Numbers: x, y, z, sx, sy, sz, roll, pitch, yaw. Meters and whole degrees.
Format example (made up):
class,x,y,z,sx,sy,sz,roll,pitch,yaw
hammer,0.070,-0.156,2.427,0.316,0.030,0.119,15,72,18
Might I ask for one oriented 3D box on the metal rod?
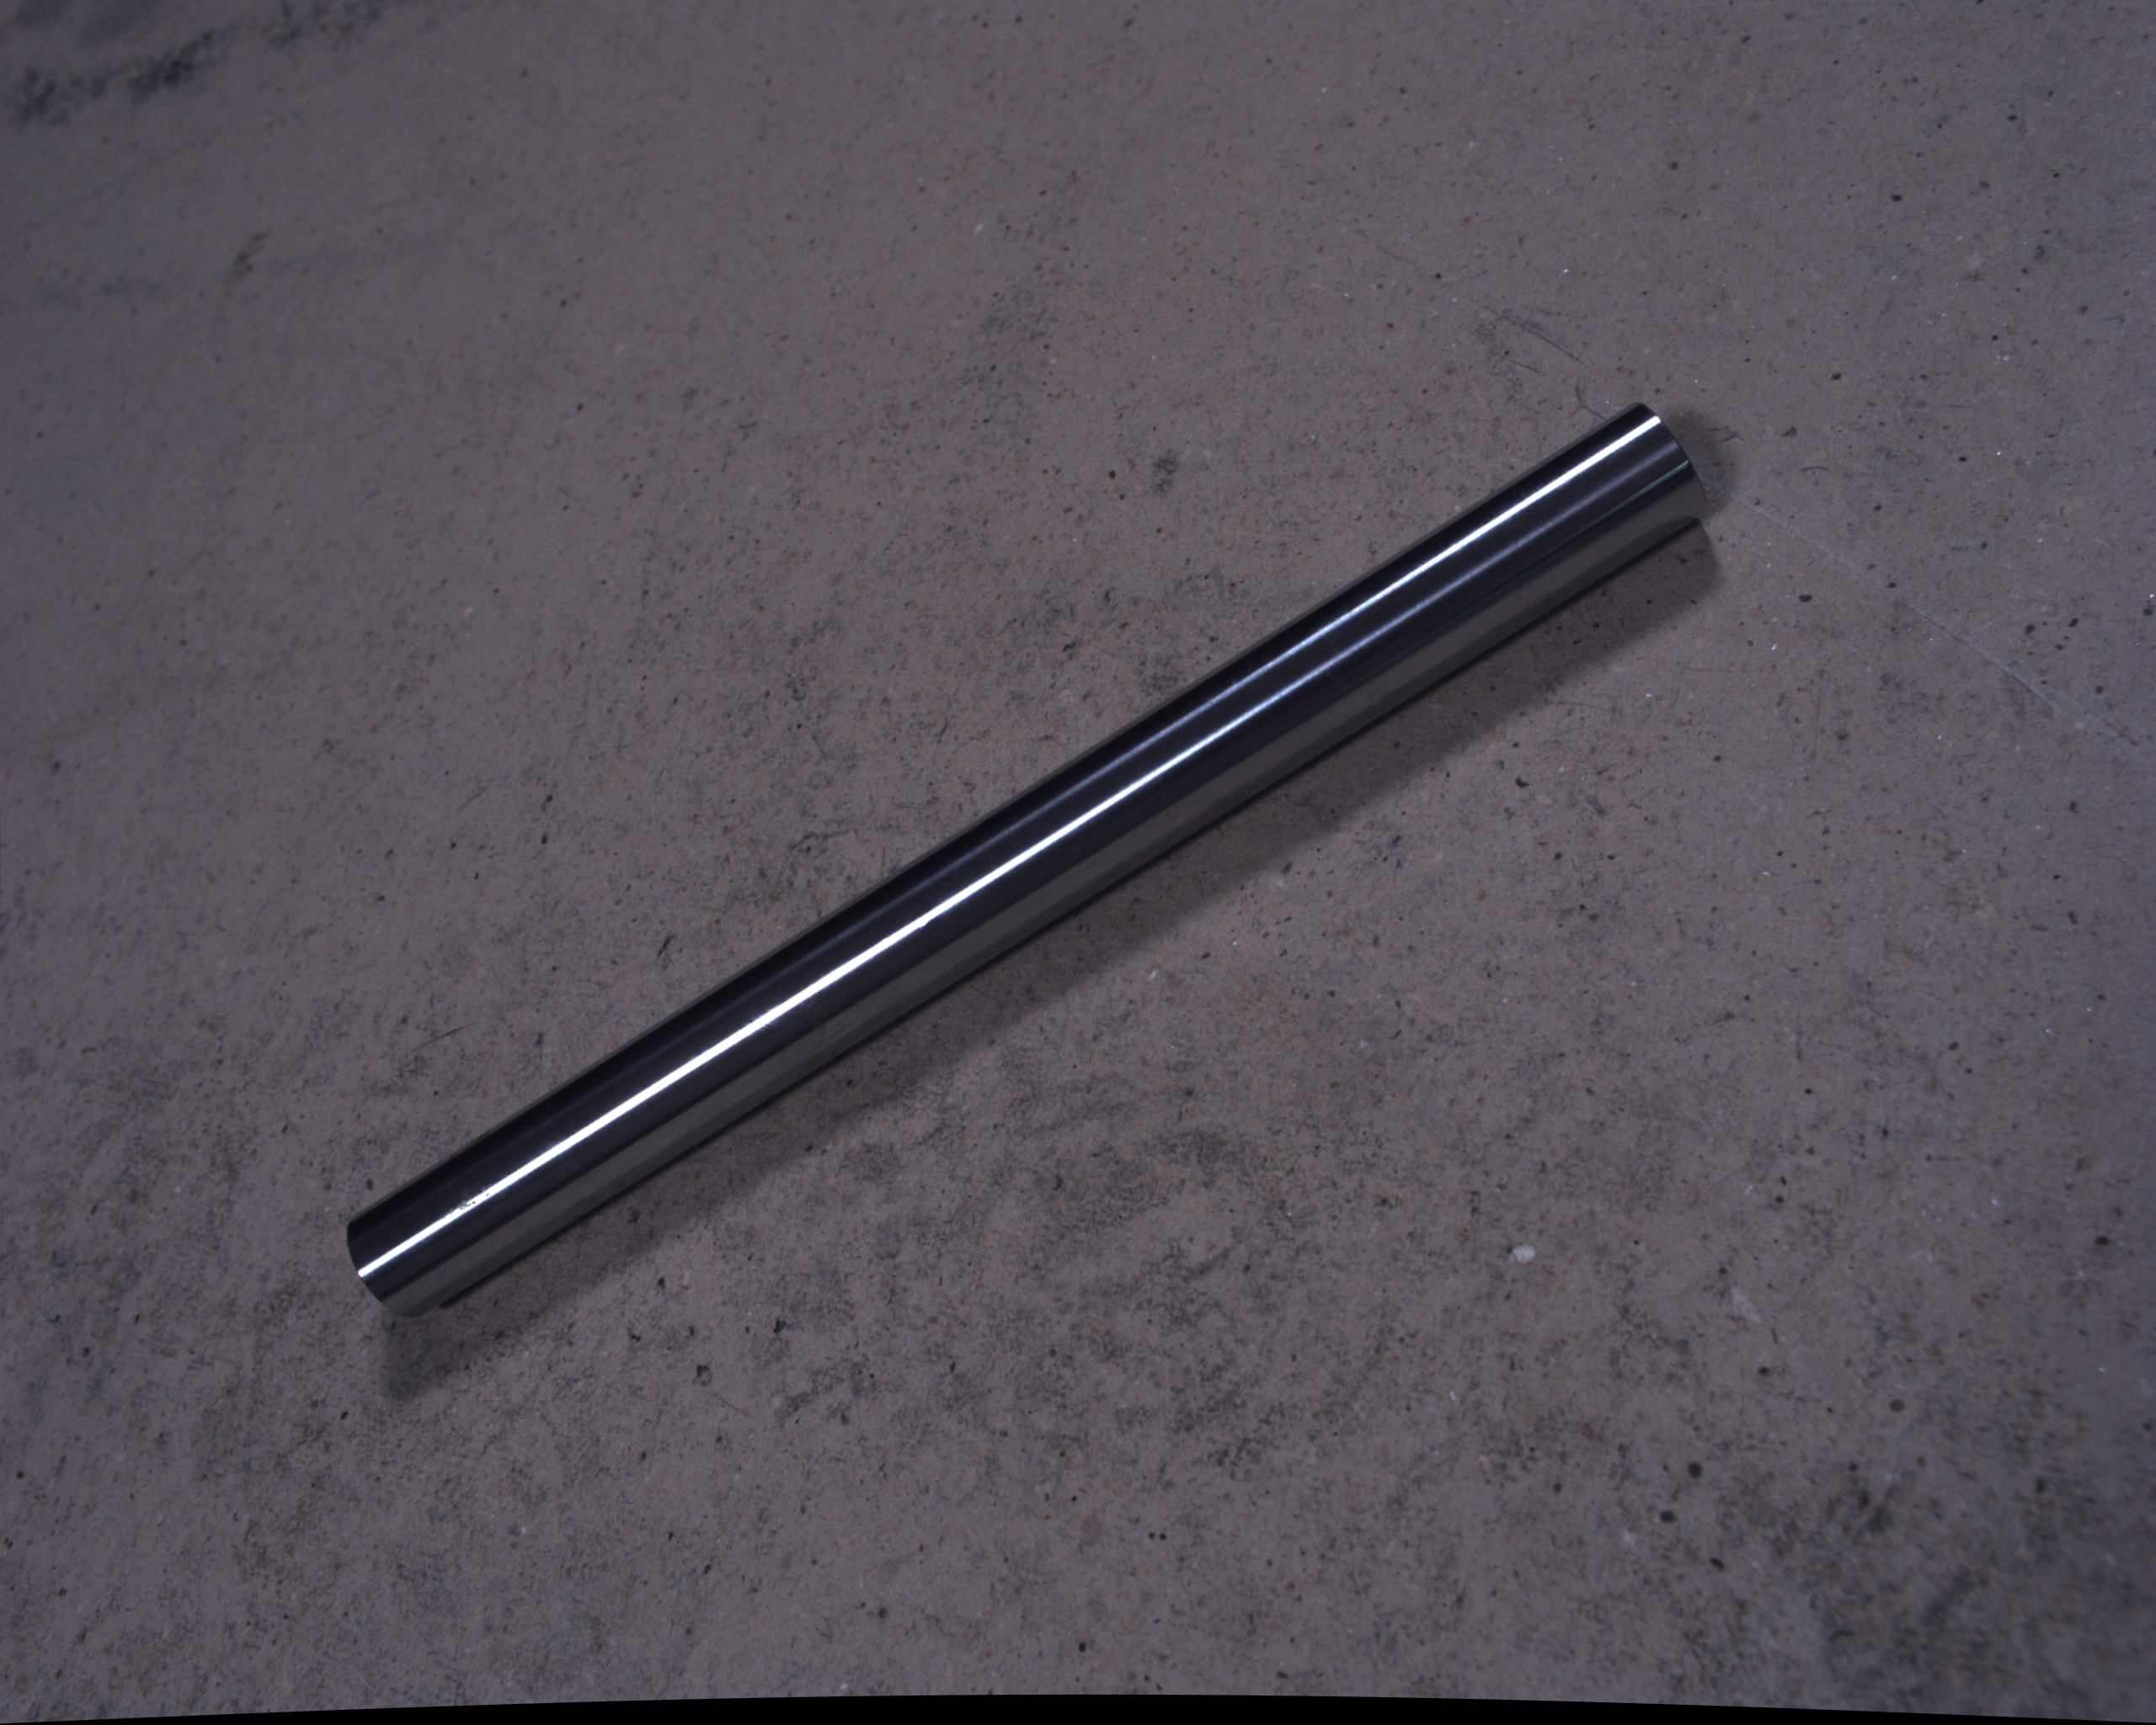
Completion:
class,x,y,z,sx,sy,sz,roll,pitch,yaw
metal rod,-0.015,0.003,0.410,0.300,0.025,0.025,-32,52,7
